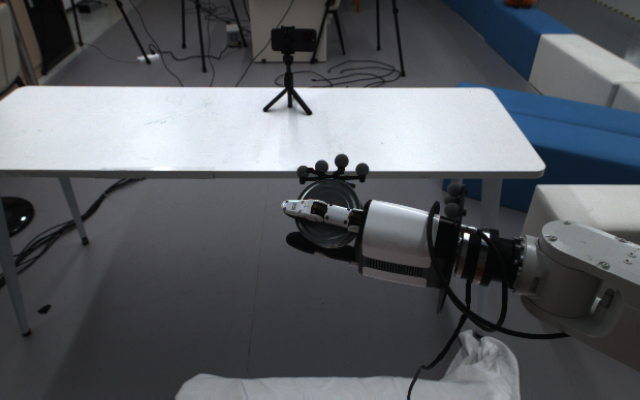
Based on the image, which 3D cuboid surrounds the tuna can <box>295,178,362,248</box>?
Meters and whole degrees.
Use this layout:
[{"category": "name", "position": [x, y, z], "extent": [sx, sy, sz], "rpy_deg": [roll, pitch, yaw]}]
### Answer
[{"category": "tuna can", "position": [0.014, 0.018, 0.618], "extent": [0.085, 0.034, 0.085], "rpy_deg": [-4, 73, 14]}]
